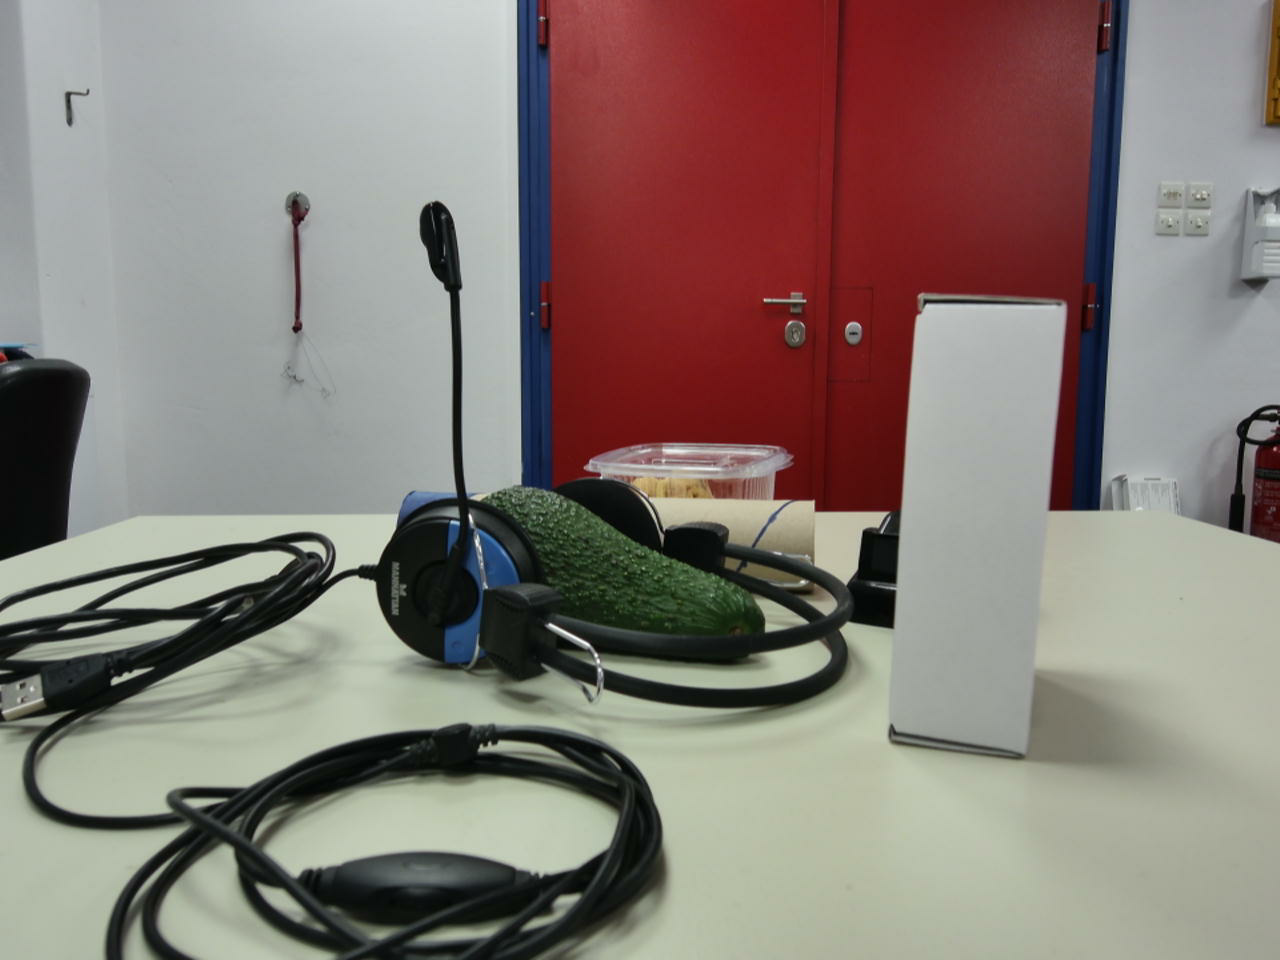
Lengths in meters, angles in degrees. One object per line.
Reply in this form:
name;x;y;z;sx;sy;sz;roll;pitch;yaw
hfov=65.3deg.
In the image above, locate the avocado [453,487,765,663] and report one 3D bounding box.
avocado;-0.014;0.037;0.423;0.141;0.067;0.063;1;4;15
